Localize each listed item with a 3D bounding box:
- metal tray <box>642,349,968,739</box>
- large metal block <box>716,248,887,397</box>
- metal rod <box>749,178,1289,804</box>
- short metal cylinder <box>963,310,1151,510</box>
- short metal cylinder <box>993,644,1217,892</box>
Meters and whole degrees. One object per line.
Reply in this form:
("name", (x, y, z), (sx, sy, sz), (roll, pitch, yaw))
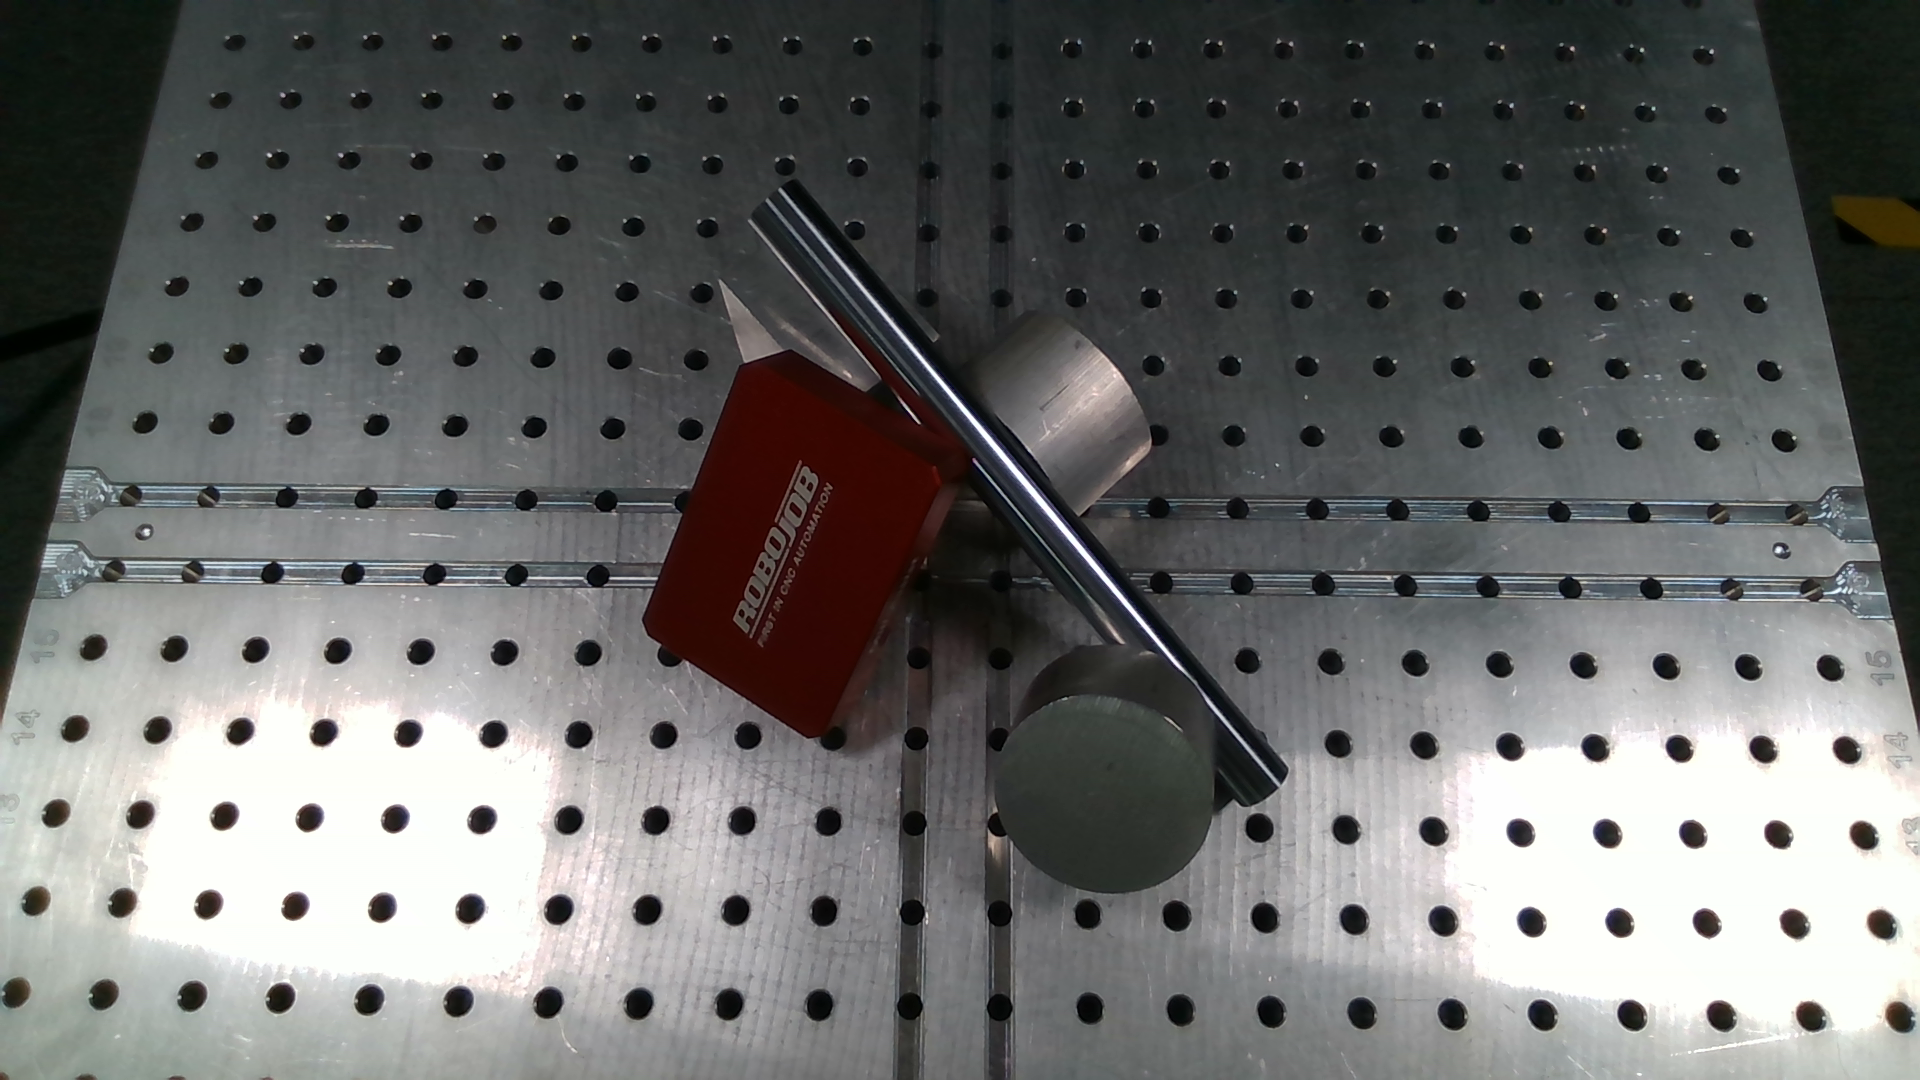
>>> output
("metal tray", (-0.064, 0.003, 0.545), (0.090, 0.030, 0.130), (31, 115, 10))
("large metal block", (-0.054, -0.079, 0.589), (0.050, 0.080, 0.080), (-38, 75, -13))
("metal rod", (0.026, -0.015, 0.539), (0.025, 0.025, 0.300), (-42, 97, -14))
("short metal cylinder", (0.034, -0.049, 0.579), (0.050, 0.080, 0.080), (-42, 75, -14))
("short metal cylinder", (0.057, 0.086, 0.525), (0.080, 0.050, 0.080), (4, 108, 12))
